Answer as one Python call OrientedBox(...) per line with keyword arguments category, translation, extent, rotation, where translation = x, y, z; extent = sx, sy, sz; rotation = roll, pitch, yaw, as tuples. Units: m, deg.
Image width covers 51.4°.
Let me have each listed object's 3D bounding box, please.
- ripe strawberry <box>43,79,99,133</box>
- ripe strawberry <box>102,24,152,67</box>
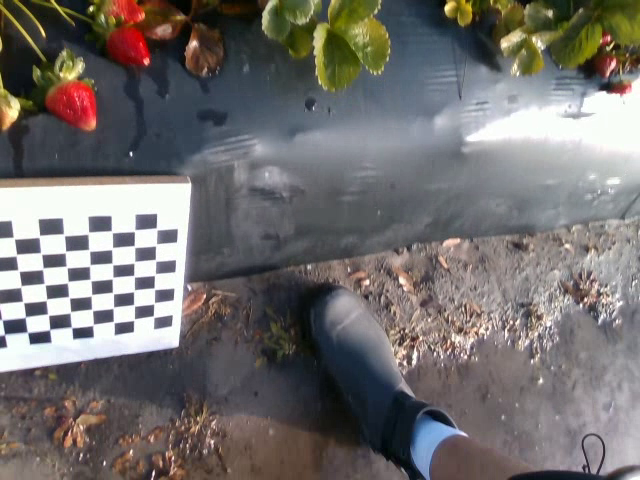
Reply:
OrientedBox(category="ripe strawberry", translation=(-0.253, -0.136, 0.675), extent=(0.050, 0.065, 0.049), rotation=(-33, -11, 7))
OrientedBox(category="ripe strawberry", translation=(-0.204, -0.204, 0.695), extent=(0.055, 0.045, 0.041), rotation=(43, 23, 11))
